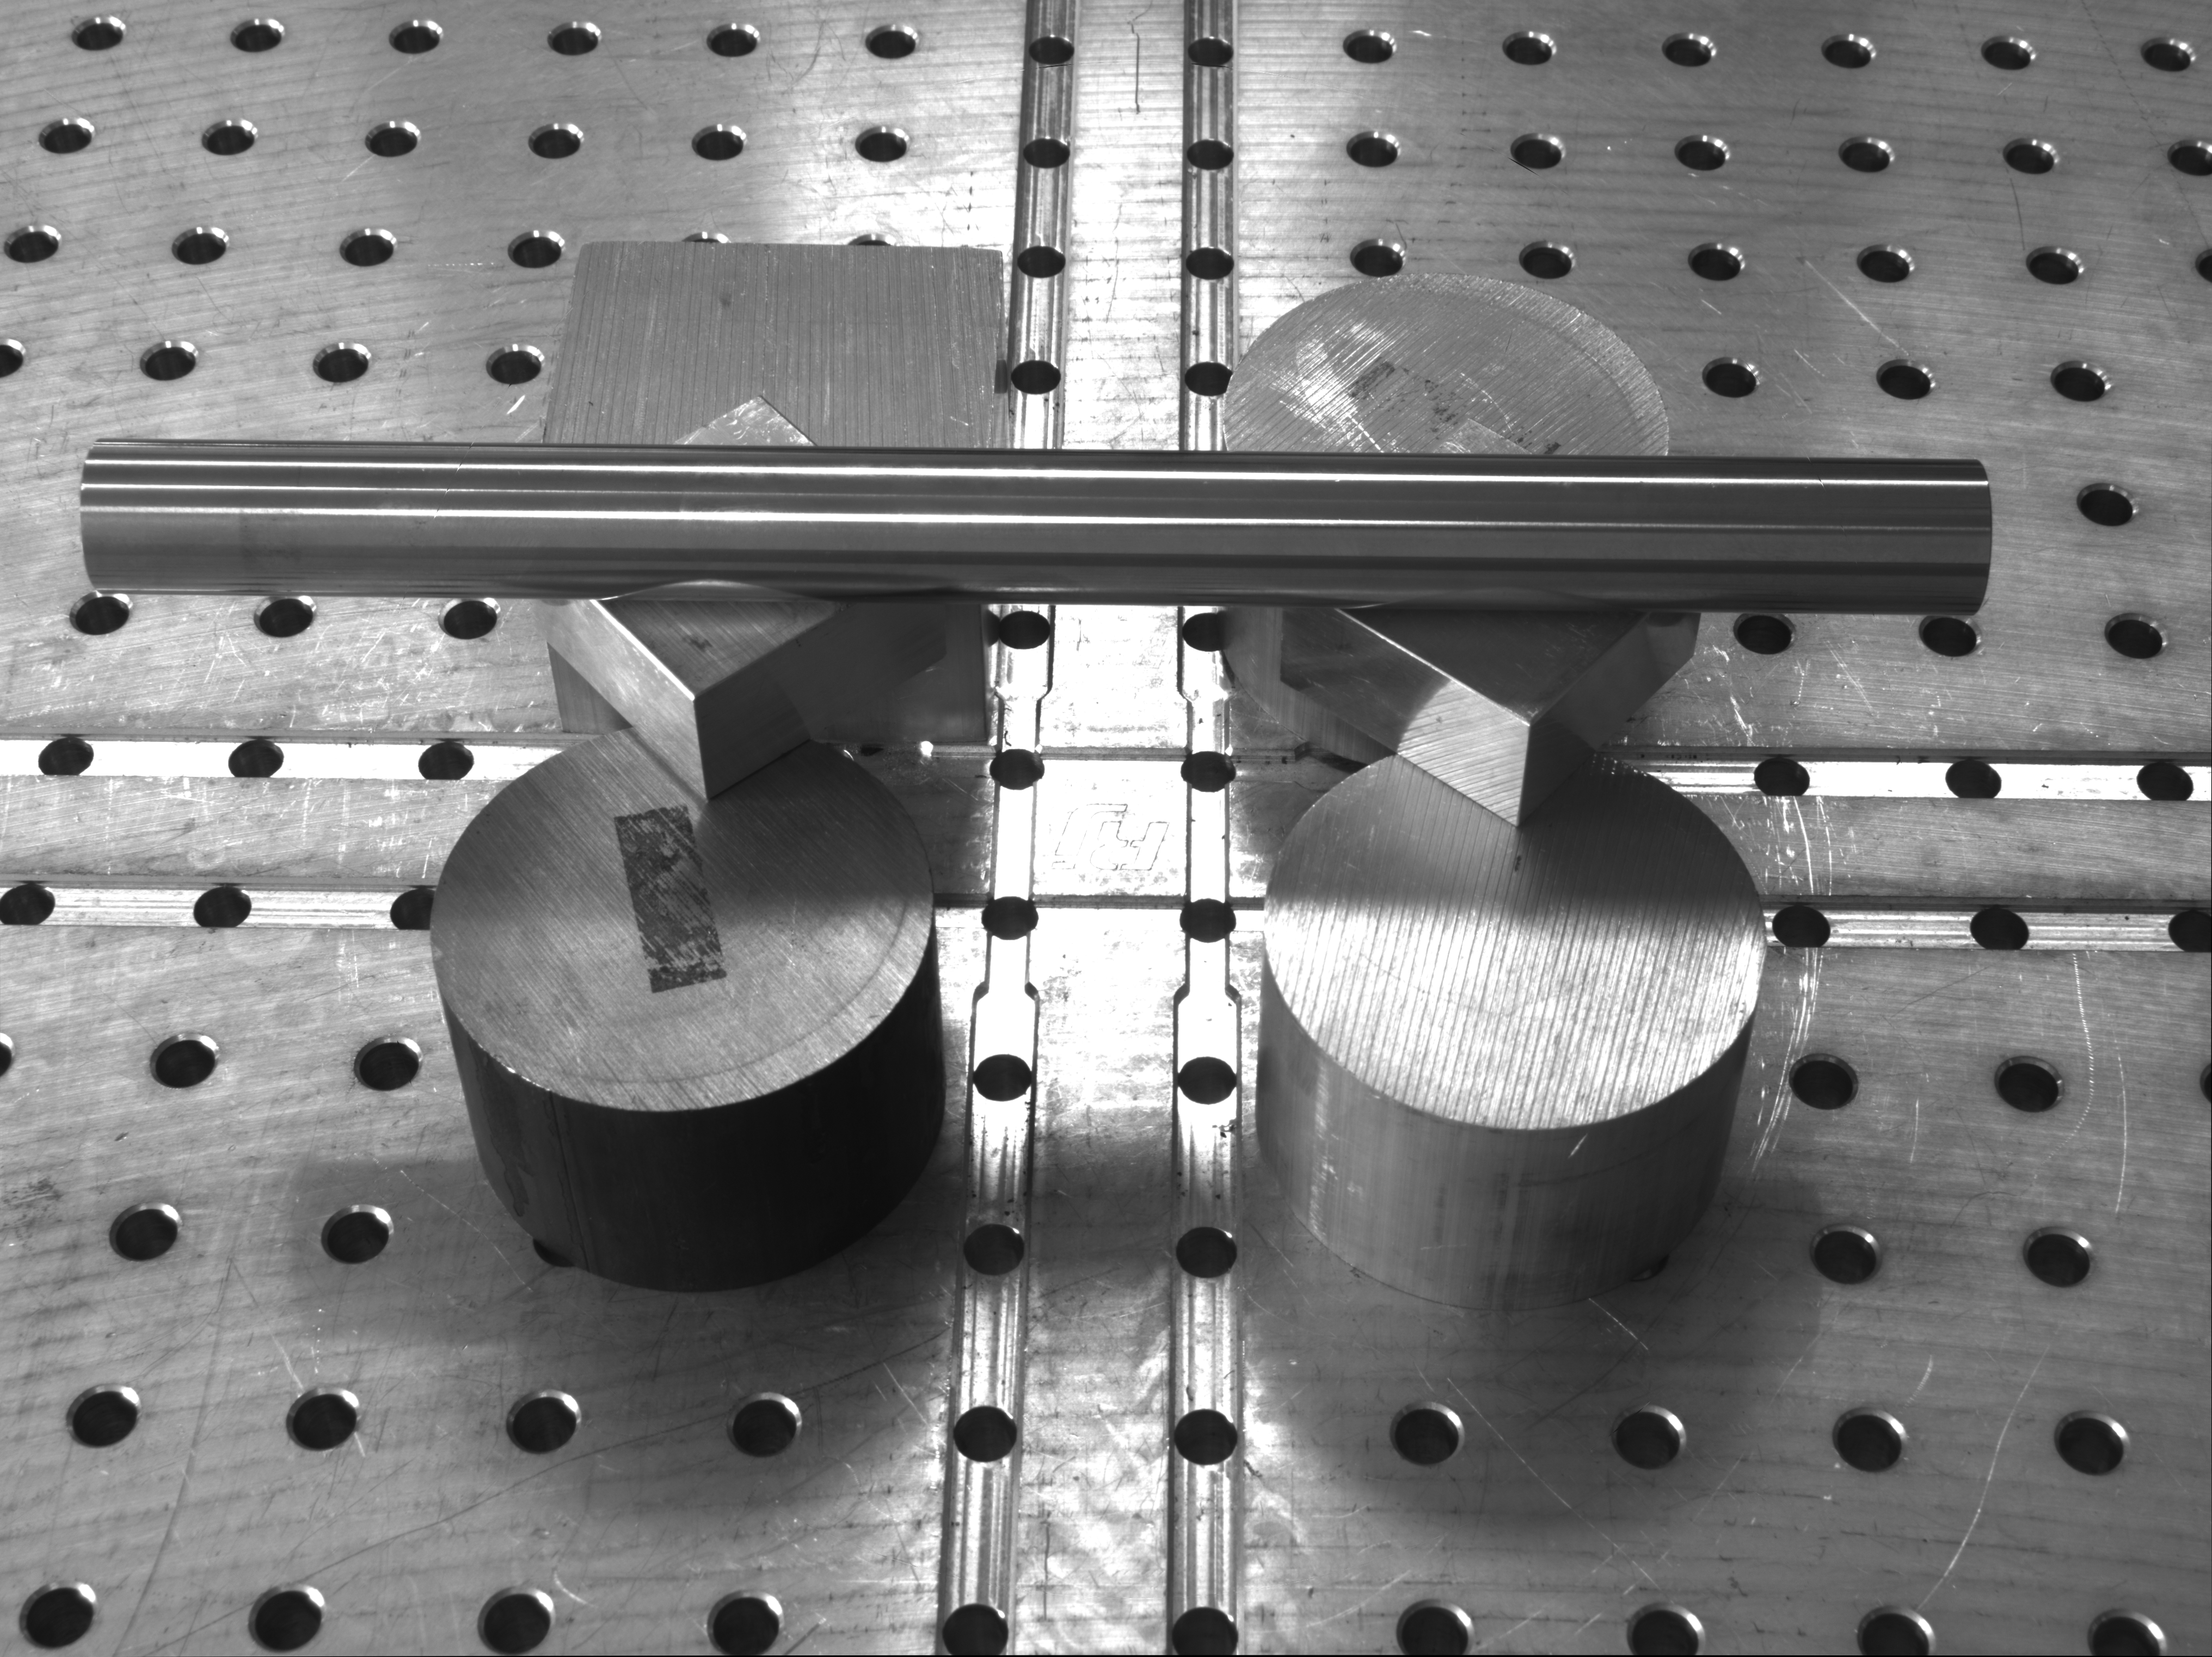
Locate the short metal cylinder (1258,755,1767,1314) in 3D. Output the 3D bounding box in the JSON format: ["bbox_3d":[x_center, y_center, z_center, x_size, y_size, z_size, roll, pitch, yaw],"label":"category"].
[{"bbox_3d":[0.065,0.032,0.602,0.080,0.050,0.080,0,50,0],"label":"short metal cylinder"}]

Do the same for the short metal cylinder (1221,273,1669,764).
[{"bbox_3d":[0.061,-0.057,0.677,0.080,0.050,0.080,0,50,0],"label":"short metal cylinder"}]

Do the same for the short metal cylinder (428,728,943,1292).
[{"bbox_3d":[-0.068,0.029,0.603,0.080,0.050,0.080,0,50,0],"label":"short metal cylinder"}]

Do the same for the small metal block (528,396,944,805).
[{"bbox_3d":[-0.063,-0.039,0.613,0.050,0.025,0.050,-32,57,-24],"label":"small metal block"}]

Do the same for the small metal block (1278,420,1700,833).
[{"bbox_3d":[0.064,-0.034,0.609,0.050,0.025,0.050,33,57,25],"label":"small metal block"}]

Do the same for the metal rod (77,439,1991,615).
[{"bbox_3d":[-0.011,-0.048,0.587,0.300,0.025,0.025,1,50,0],"label":"metal rod"}]

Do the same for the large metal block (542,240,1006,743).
[{"bbox_3d":[-0.060,-0.063,0.681,0.080,0.050,0.080,1,50,1],"label":"large metal block"}]
